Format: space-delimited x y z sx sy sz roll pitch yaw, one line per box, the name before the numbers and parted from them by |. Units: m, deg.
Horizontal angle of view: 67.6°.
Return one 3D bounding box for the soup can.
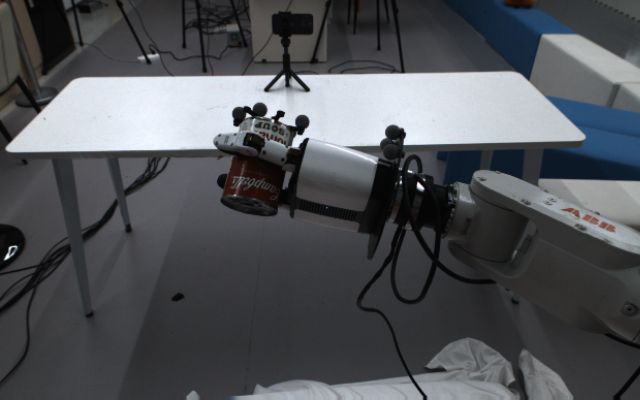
soup can | -0.072 -0.038 0.571 0.067 0.067 0.101 8 72 9
